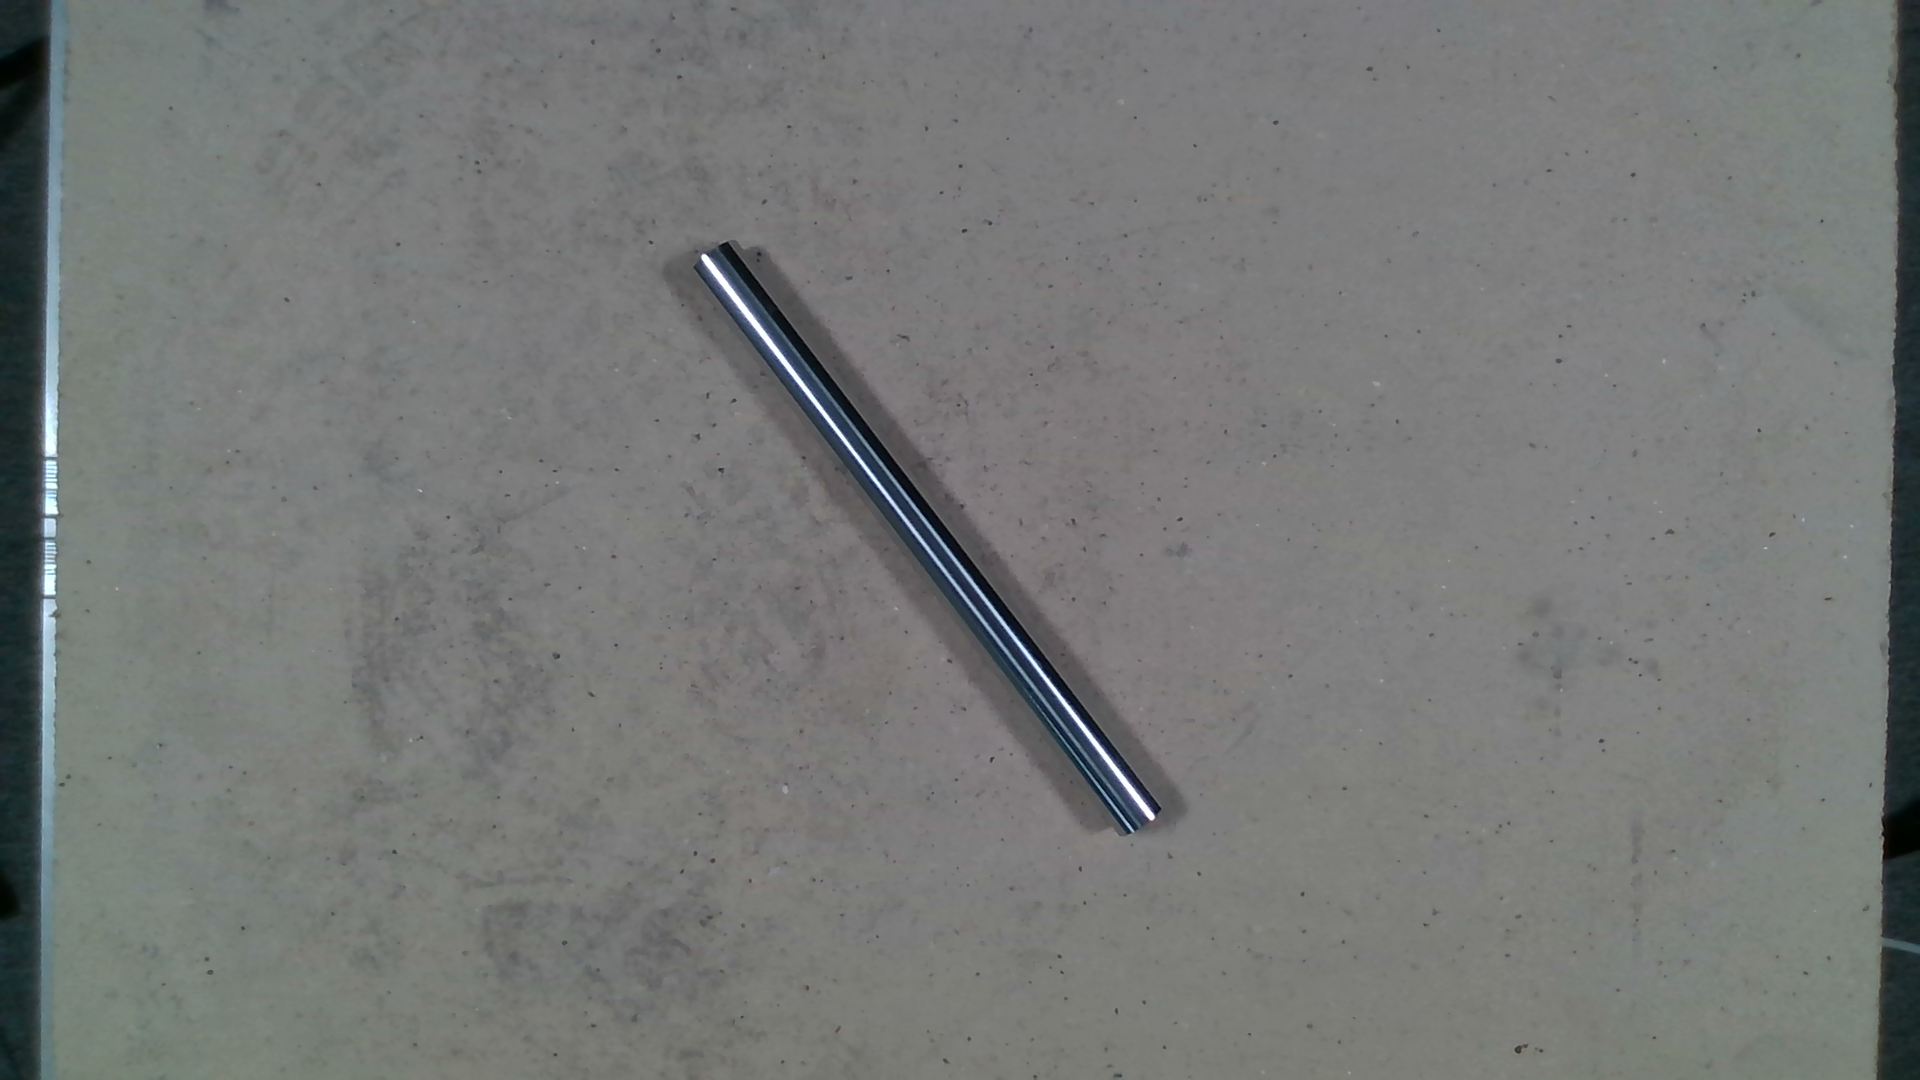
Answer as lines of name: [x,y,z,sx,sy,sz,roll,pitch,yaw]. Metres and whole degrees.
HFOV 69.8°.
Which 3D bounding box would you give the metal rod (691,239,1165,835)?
metal rod: [-0.014,-0.001,0.587,0.025,0.025,0.300,-37,90,0]
